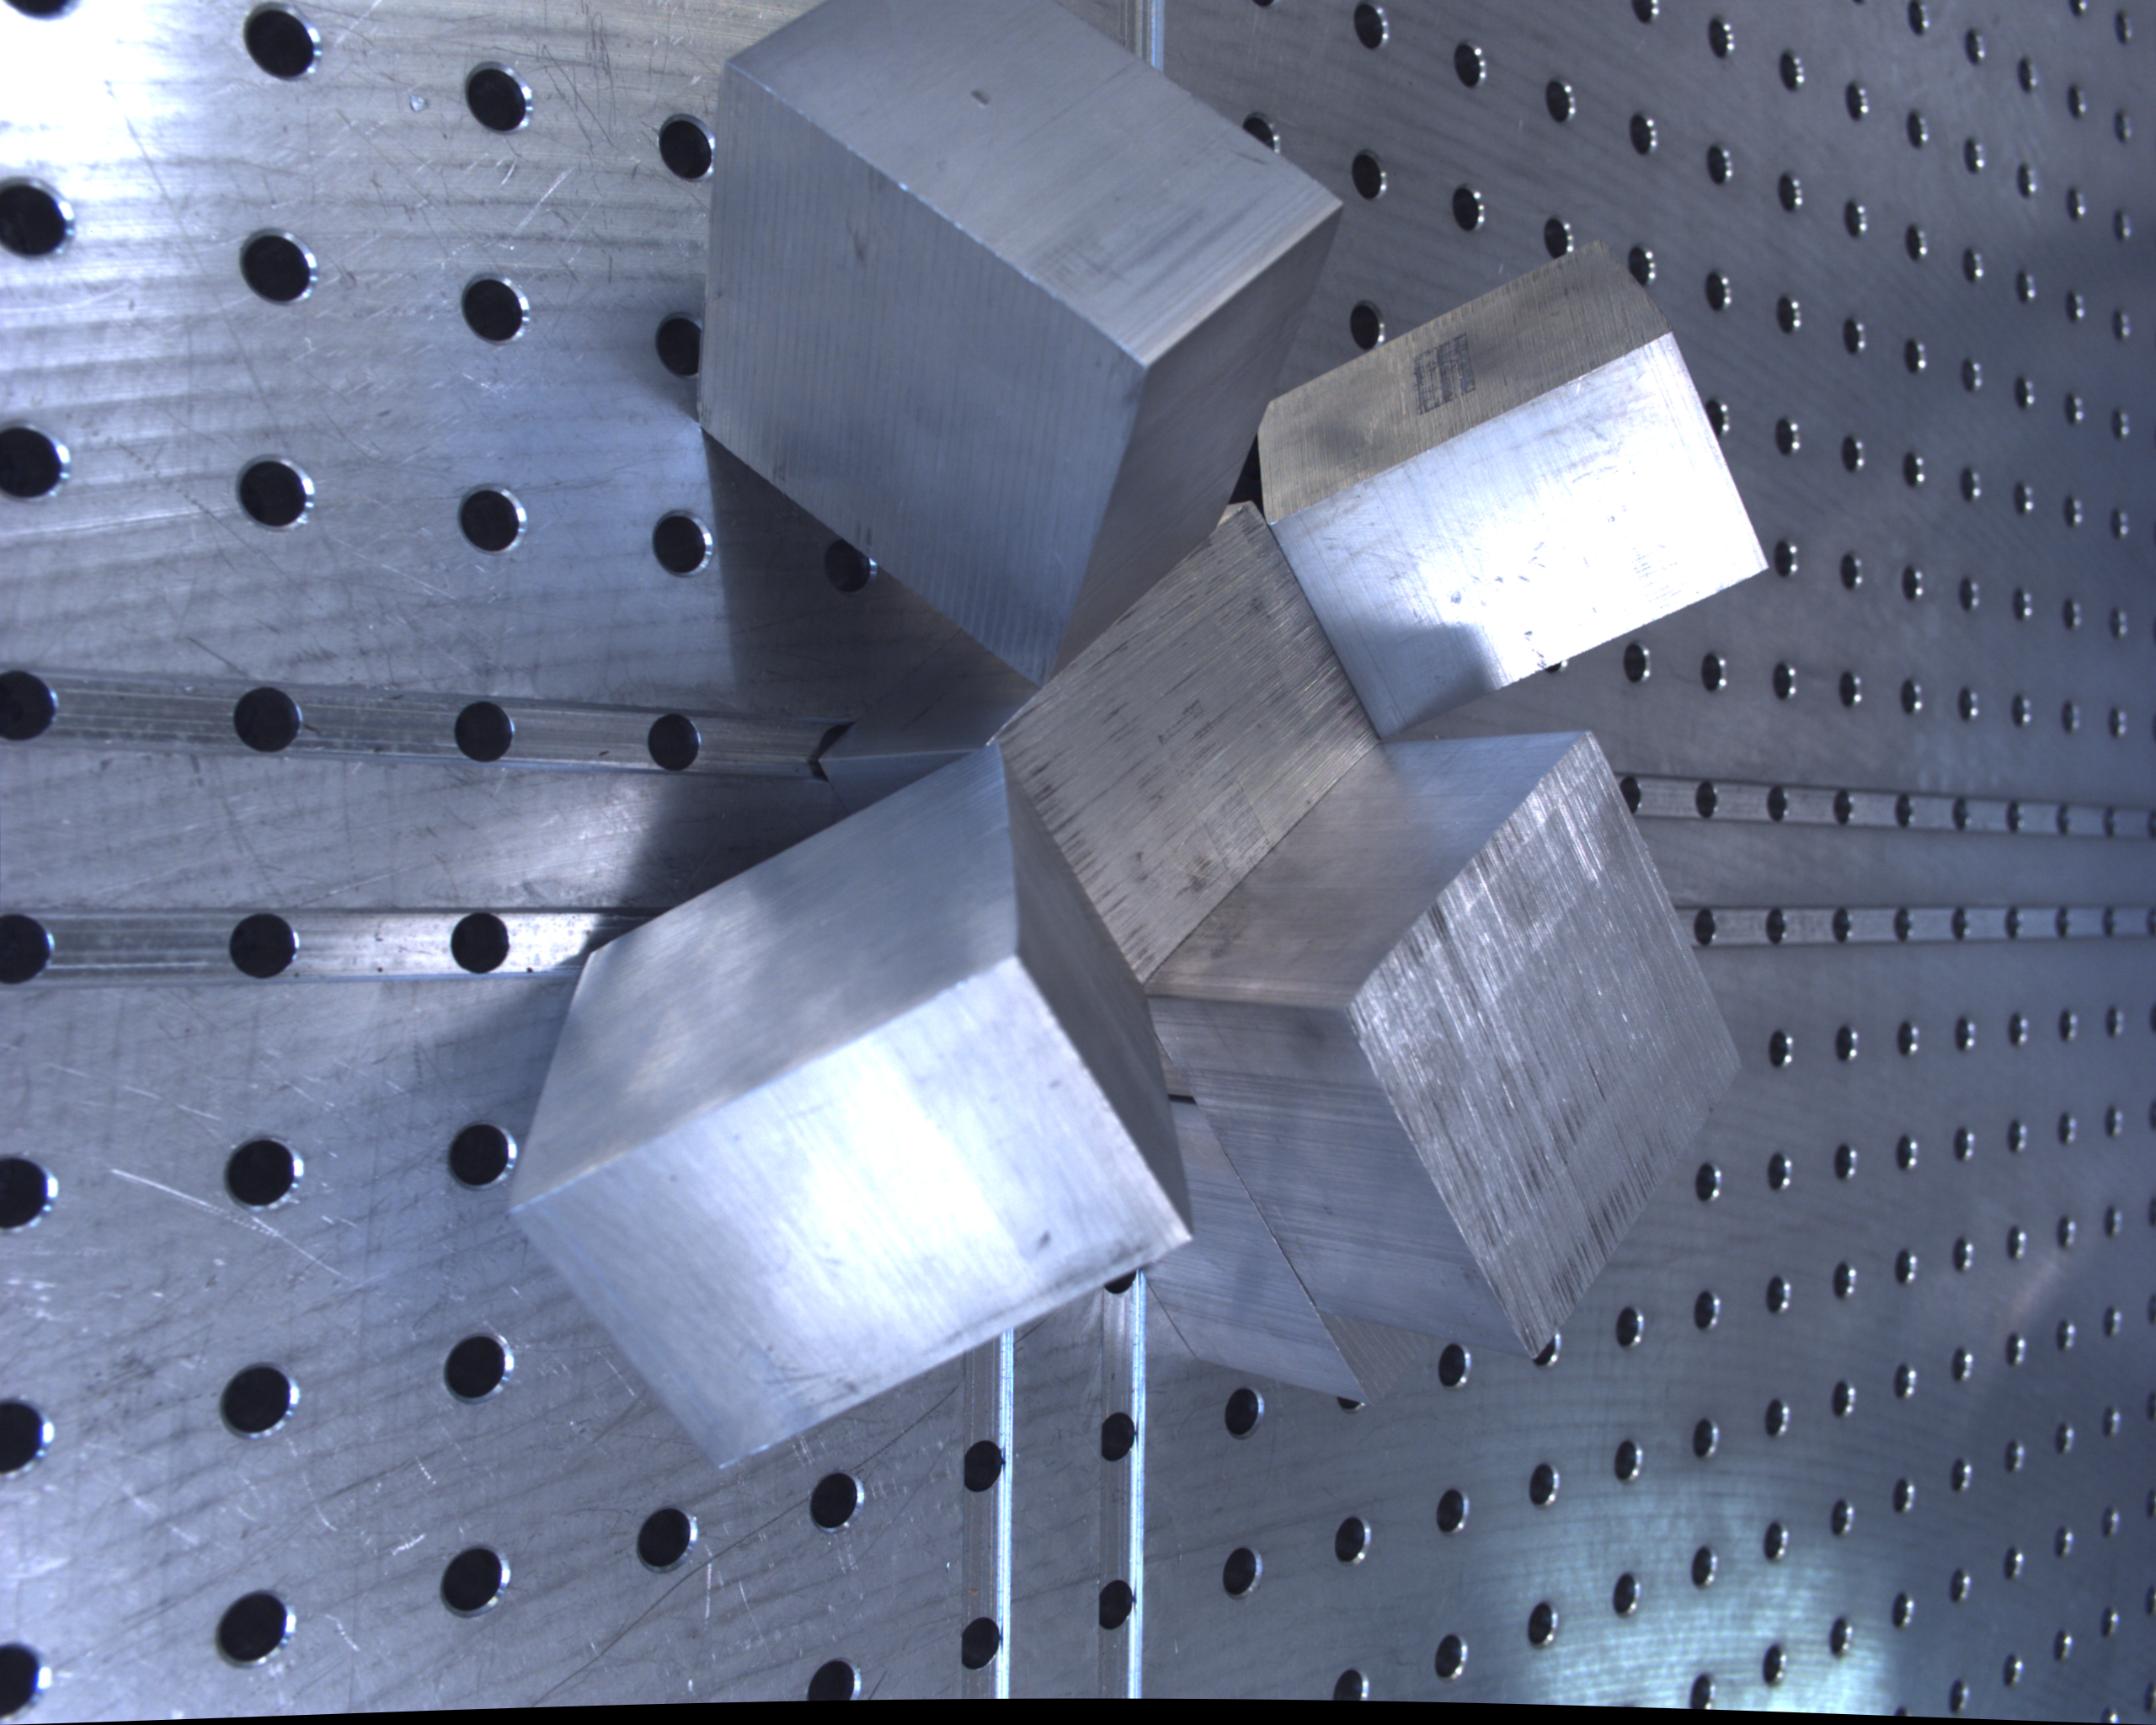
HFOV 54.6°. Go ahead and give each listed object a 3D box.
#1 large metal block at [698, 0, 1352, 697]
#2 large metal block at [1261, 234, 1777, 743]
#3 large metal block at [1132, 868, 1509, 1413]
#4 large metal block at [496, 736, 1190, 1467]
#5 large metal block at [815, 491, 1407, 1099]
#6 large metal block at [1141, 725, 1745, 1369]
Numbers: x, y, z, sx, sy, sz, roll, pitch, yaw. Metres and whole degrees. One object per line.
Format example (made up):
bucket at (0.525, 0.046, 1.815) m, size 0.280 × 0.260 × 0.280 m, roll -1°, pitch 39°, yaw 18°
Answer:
large metal block at (-0.013, -0.087, 0.341) m, size 0.080 × 0.080 × 0.050 m, roll 39°, pitch 59°, yaw 10°
large metal block at (0.085, -0.078, 0.422) m, size 0.050 × 0.080 × 0.080 m, roll 59°, pitch 17°, yaw -23°
large metal block at (0.049, 0.052, 0.432) m, size 0.080 × 0.050 × 0.080 m, roll -45°, pitch 116°, yaw -32°
large metal block at (-0.034, 0.033, 0.324) m, size 0.080 × 0.080 × 0.050 m, roll -28°, pitch 113°, yaw 8°
large metal block at (0.011, -0.013, 0.401) m, size 0.080 × 0.050 × 0.080 m, roll -46°, pitch 117°, yaw -30°
large metal block at (0.069, 0.031, 0.383) m, size 0.080 × 0.050 × 0.080 m, roll -45°, pitch 118°, yaw -32°
